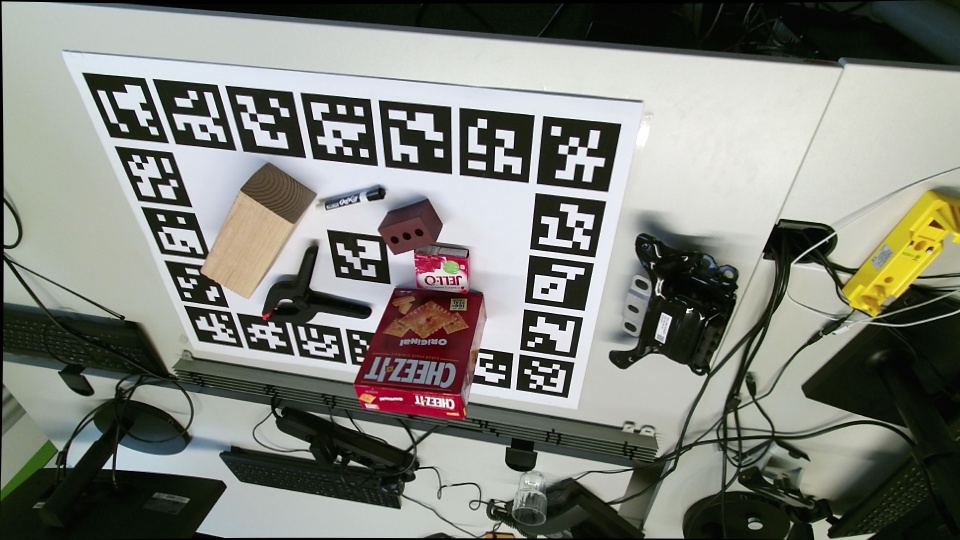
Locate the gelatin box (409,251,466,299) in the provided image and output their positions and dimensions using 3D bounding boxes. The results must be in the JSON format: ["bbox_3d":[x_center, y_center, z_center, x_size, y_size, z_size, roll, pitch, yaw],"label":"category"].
[{"bbox_3d":[-0.069,0.007,0.883,0.090,0.030,0.073,6,124,7],"label":"gelatin box"}]

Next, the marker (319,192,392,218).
[{"bbox_3d":[-0.193,-0.101,0.833,0.121,0.019,0.019,-10,120,17],"label":"marker"}]

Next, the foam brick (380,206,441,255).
[{"bbox_3d":[-0.108,-0.057,0.829,0.078,0.051,0.053,-14,119,20],"label":"foam brick"}]

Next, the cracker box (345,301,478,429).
[{"bbox_3d":[-0.104,0.142,0.863,0.165,0.213,0.072,5,126,10],"label":"cracker box"}]

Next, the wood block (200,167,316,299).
[{"bbox_3d":[-0.362,-0.051,0.864,0.090,0.090,0.206,35,126,-16],"label":"wood block"}]

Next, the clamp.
[{"bbox_3d":[-0.326,0.063,0.965,0.203,0.036,0.165,-20,118,23],"label":"clamp"}]
